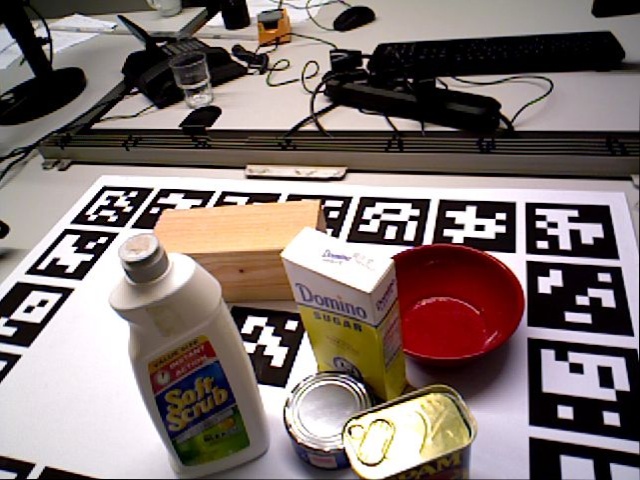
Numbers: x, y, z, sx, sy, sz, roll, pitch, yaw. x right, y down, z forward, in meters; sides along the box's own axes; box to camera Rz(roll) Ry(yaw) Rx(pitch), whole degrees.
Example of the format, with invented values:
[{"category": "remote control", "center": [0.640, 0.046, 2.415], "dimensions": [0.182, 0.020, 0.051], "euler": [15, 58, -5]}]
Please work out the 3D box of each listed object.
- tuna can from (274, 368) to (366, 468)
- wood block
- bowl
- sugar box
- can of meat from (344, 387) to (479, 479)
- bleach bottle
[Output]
[{"category": "tuna can", "center": [0.002, 0.163, 0.501], "dimensions": [0.086, 0.034, 0.084], "euler": [-8, 44, 7]}, {"category": "wood block", "center": [-0.105, 0.014, 0.663], "dimensions": [0.206, 0.091, 0.089], "euler": [-3, 46, 10]}, {"category": "bowl", "center": [0.134, 0.069, 0.564], "dimensions": [0.162, 0.056, 0.159], "euler": [-10, 39, 8]}, {"category": "sugar box", "center": [0.029, 0.071, 0.490], "dimensions": [0.093, 0.179, 0.044], "euler": [18, 50, 34]}, {"category": "can of meat", "center": [0.075, 0.171, 0.446], "dimensions": [0.101, 0.085, 0.057], "euler": [-16, 38, -7]}, {"category": "bleach bottle", "center": [-0.114, 0.094, 0.446], "dimensions": [0.102, 0.255, 0.067], "euler": [-14, 40, -3]}]
